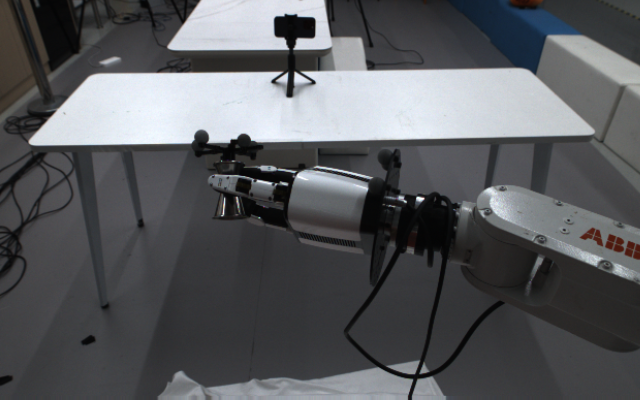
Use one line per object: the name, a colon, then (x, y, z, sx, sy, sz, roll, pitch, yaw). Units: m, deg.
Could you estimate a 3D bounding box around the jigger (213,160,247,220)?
jigger: (-0.111, -0.011, 0.593, 0.043, 0.071, 0.043, -2, -7, 0)
